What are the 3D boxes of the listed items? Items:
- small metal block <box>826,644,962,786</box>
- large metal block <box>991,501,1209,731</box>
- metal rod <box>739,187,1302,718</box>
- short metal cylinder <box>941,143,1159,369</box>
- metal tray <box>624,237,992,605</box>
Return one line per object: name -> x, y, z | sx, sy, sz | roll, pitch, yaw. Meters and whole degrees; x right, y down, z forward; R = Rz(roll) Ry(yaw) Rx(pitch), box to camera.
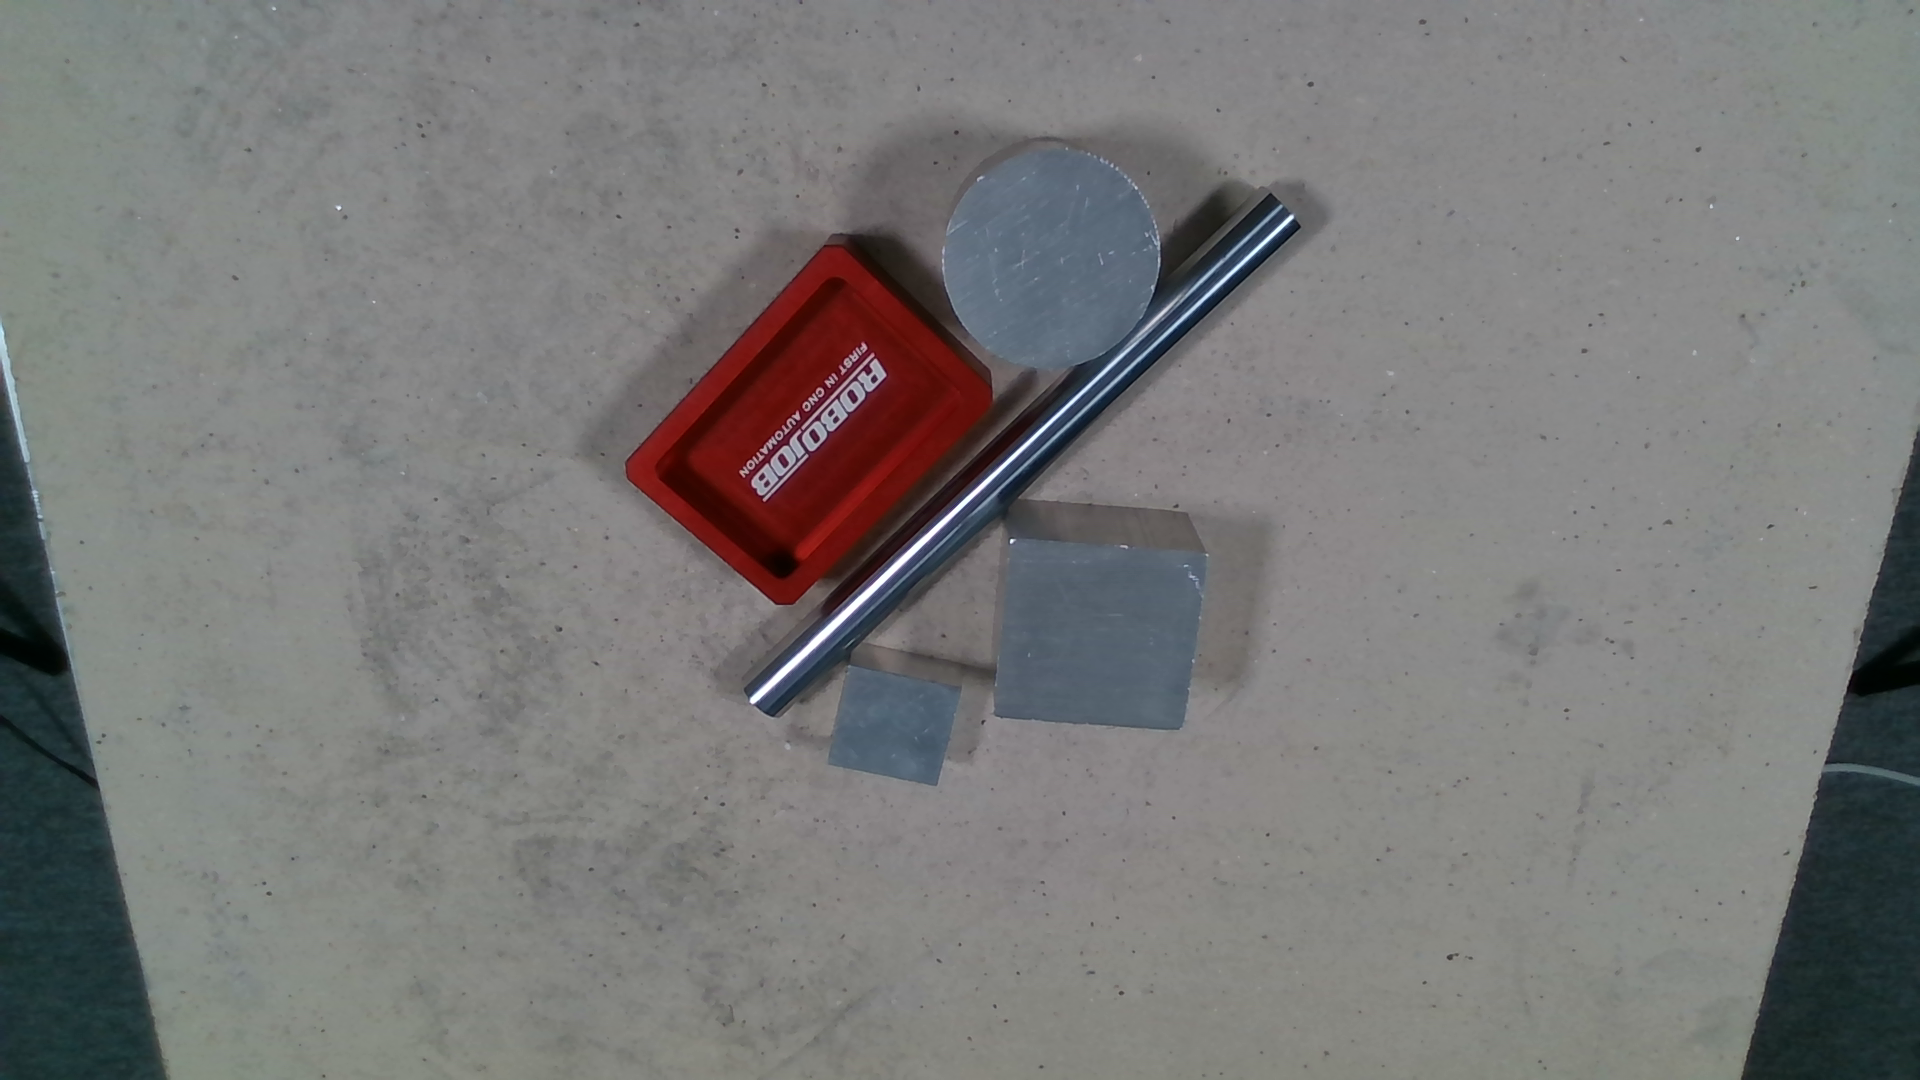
small metal block -> -0.029, 0.077, 0.614 | 0.050, 0.025, 0.050 | 12, 110, -4
large metal block -> 0.056, 0.031, 0.583 | 0.080, 0.050, 0.080 | 4, 110, -1
metal rod -> 0.018, -0.030, 0.573 | 0.300, 0.025, 0.025 | -43, 105, 14
short metal cylinder -> 0.033, -0.111, 0.530 | 0.080, 0.050, 0.080 | 0, 110, 0
metal tray -> -0.061, -0.048, 0.564 | 0.090, 0.030, 0.130 | 42, 105, -14
